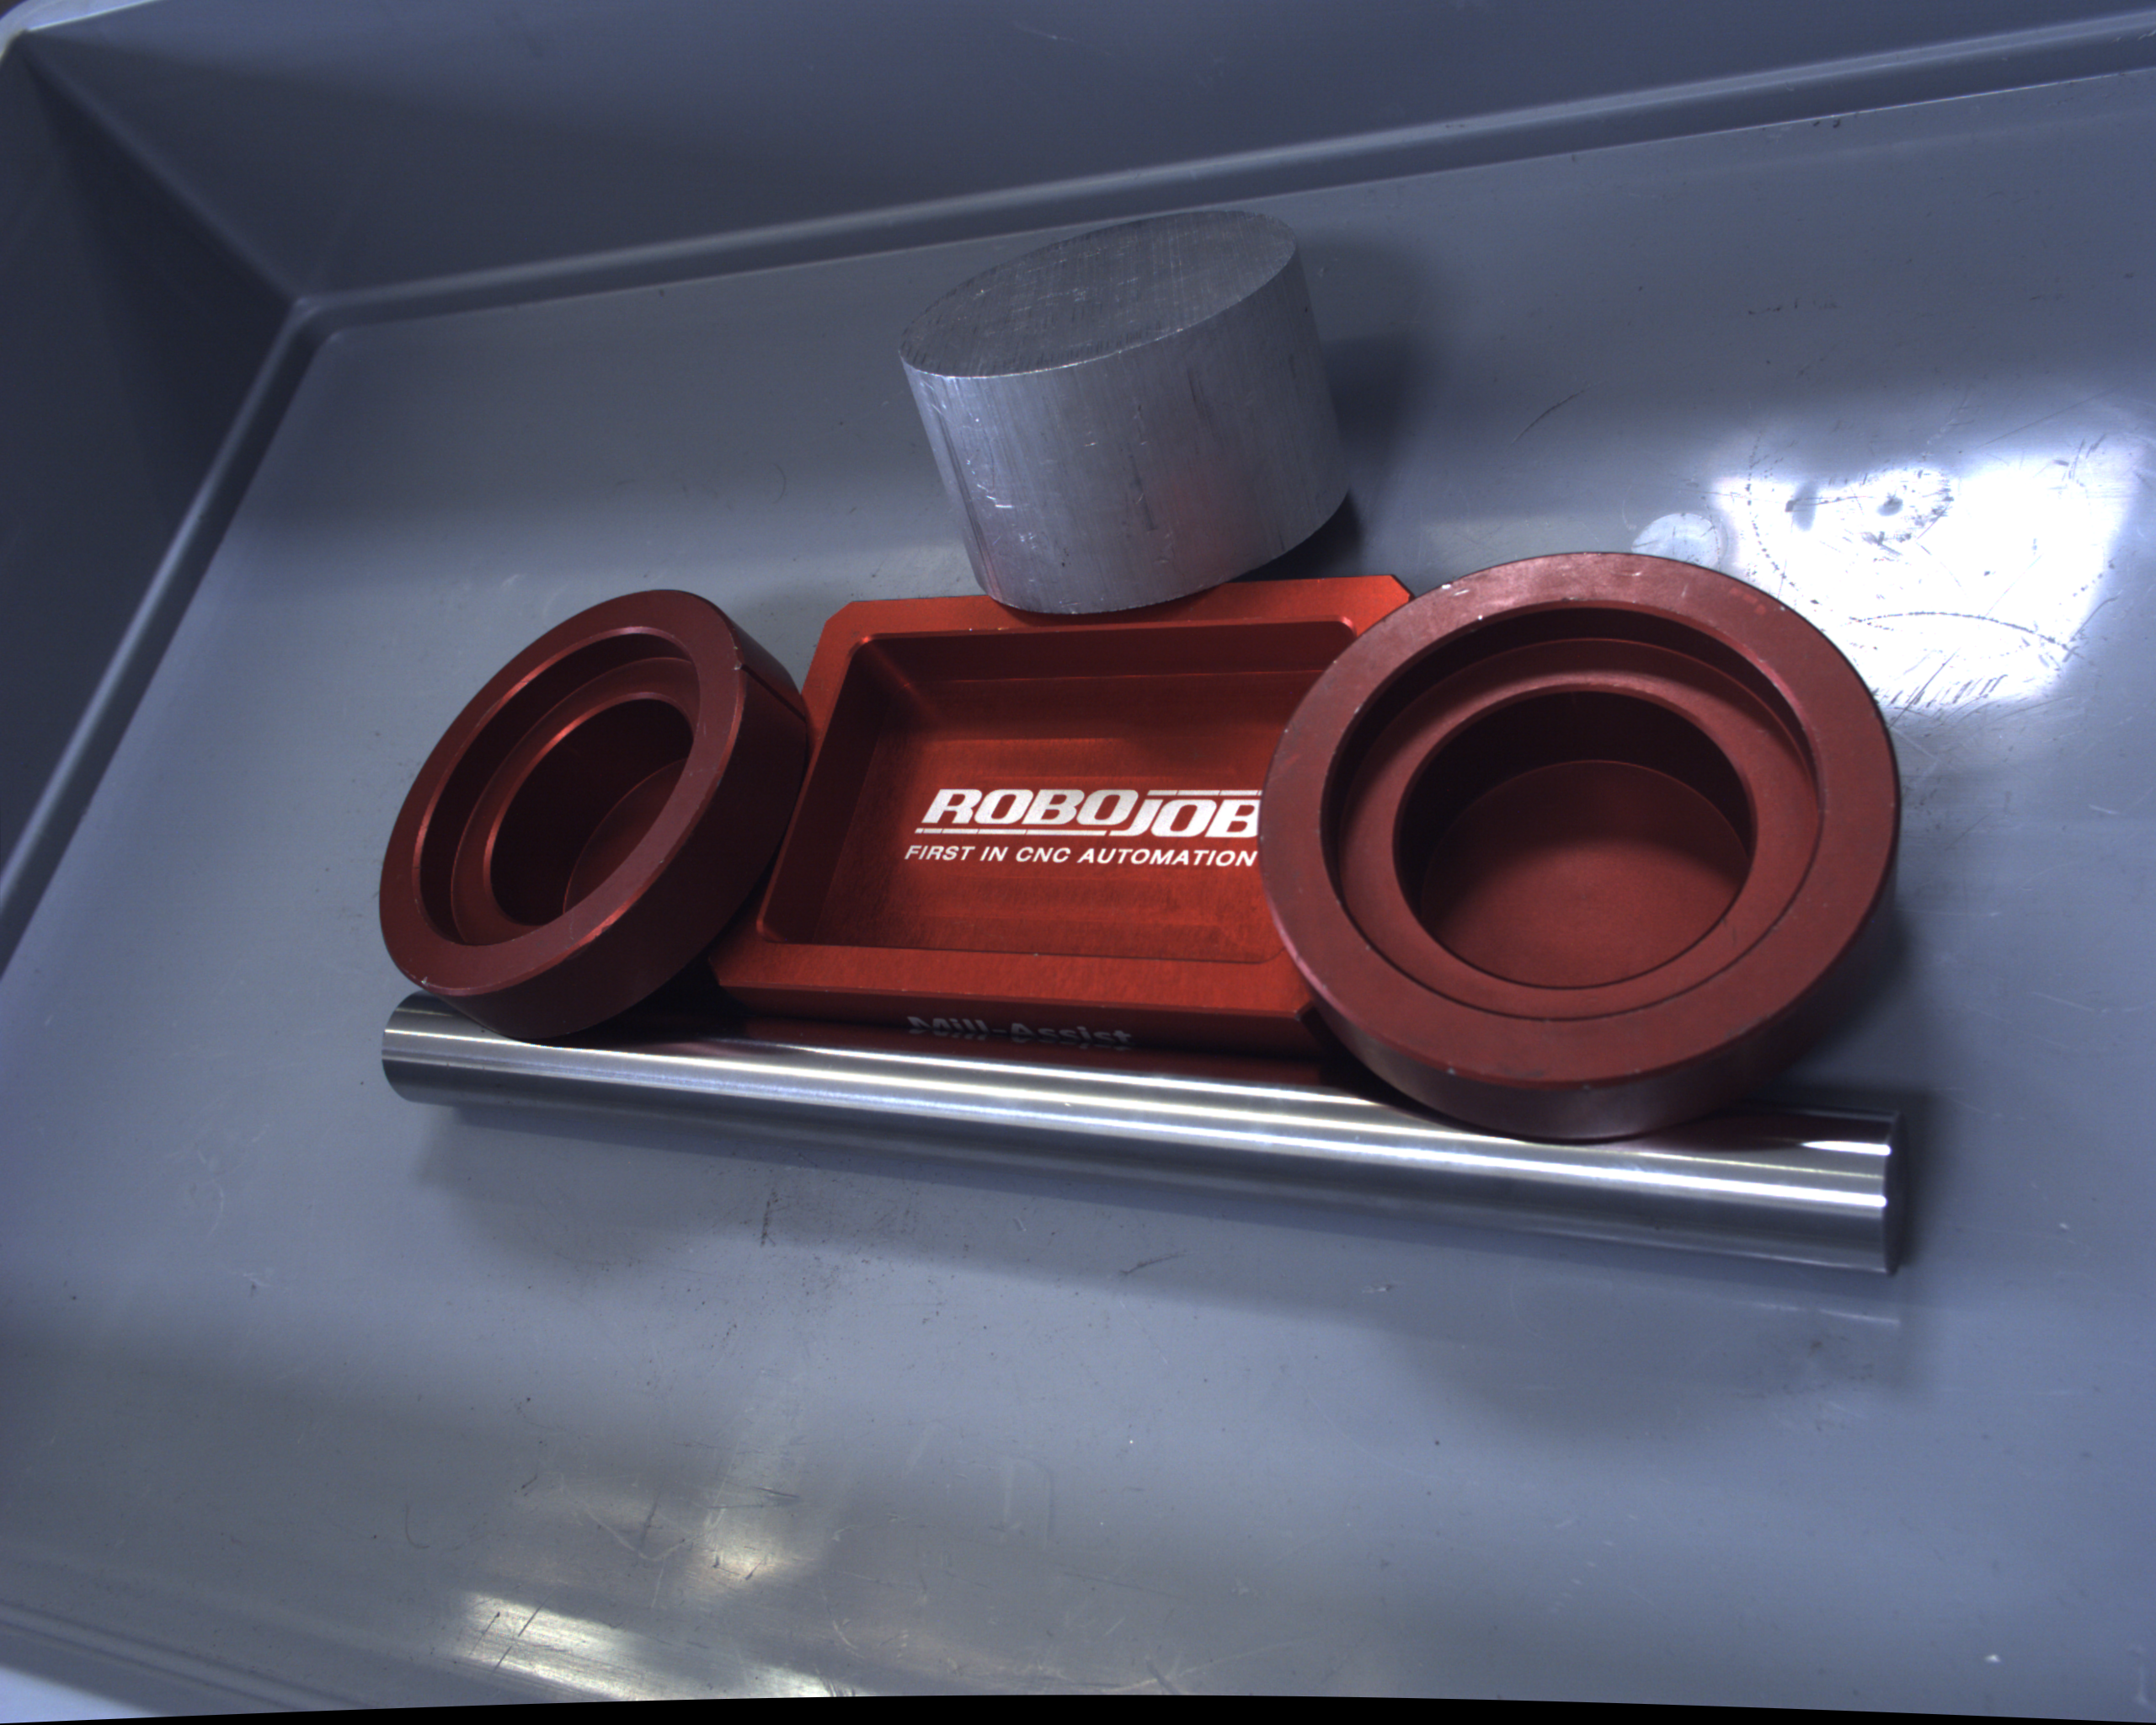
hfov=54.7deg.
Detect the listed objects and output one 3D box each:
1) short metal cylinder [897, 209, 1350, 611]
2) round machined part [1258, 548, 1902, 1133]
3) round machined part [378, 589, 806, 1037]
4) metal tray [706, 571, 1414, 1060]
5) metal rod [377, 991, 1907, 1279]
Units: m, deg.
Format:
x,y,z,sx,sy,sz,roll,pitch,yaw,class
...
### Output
x,y,z,sx,sy,sz,roll,pitch,yaw,class
0.010,-0.092,0.420,0.080,0.050,0.080,-13,31,8,short metal cylinder
0.082,-0.001,0.343,0.098,0.042,0.098,-9,58,14,round machined part
-0.096,-0.006,0.441,0.098,0.042,0.098,-20,49,25,round machined part
0.000,-0.009,0.405,0.130,0.030,0.090,1,63,28,metal tray
-0.011,0.045,0.381,0.300,0.025,0.025,2,63,29,metal rod
